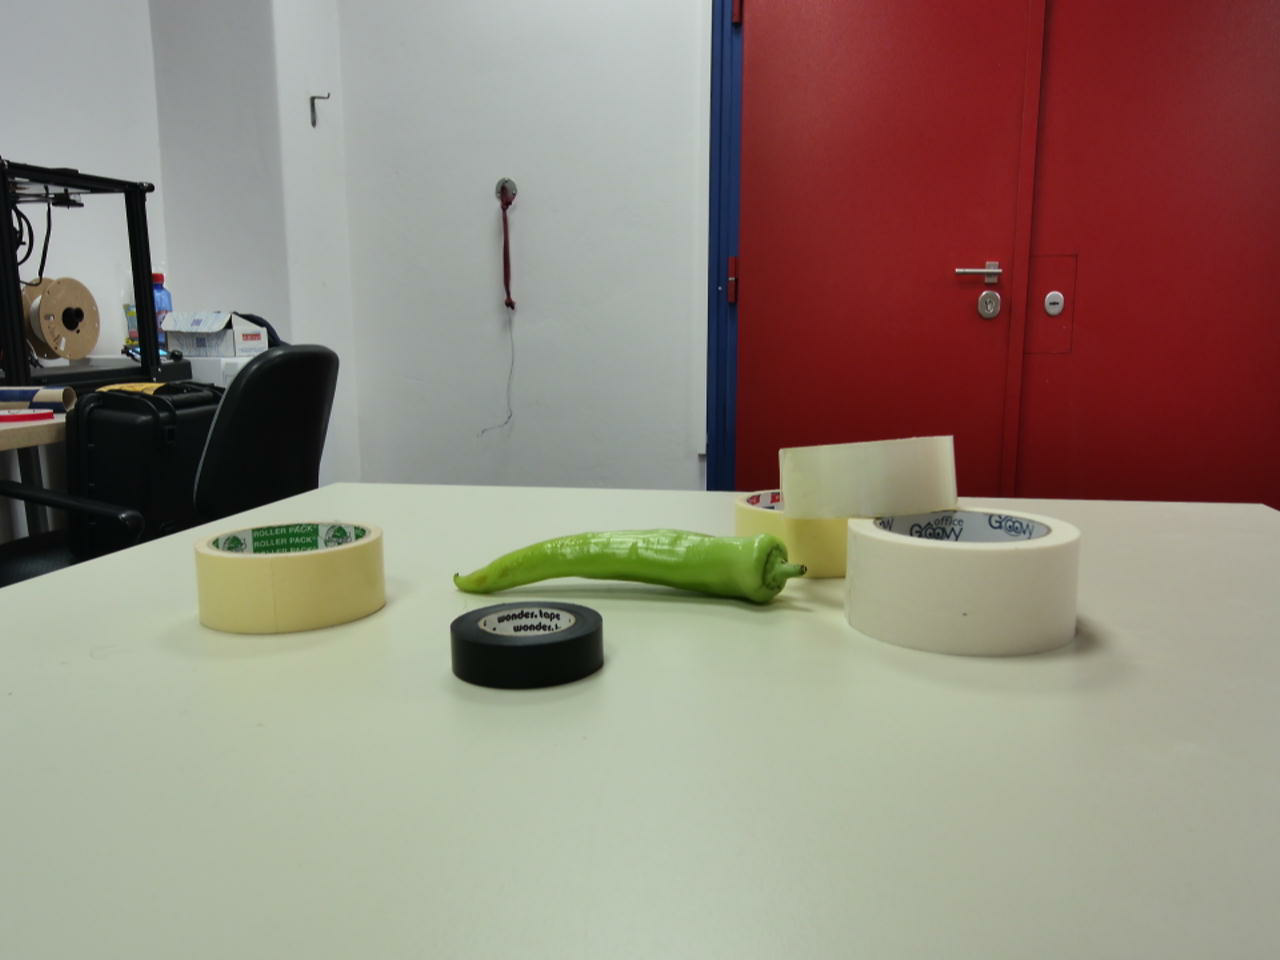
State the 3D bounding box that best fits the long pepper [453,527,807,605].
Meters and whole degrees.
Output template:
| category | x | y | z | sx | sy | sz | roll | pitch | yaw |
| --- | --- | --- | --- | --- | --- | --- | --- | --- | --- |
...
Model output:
| category | x | y | z | sx | sy | sz | roll | pitch | yaw |
| --- | --- | --- | --- | --- | --- | --- | --- | --- | --- |
| long pepper | -0.007 | 0.044 | 0.546 | 0.197 | 0.038 | 0.046 | 2 | 6 | 14 |
